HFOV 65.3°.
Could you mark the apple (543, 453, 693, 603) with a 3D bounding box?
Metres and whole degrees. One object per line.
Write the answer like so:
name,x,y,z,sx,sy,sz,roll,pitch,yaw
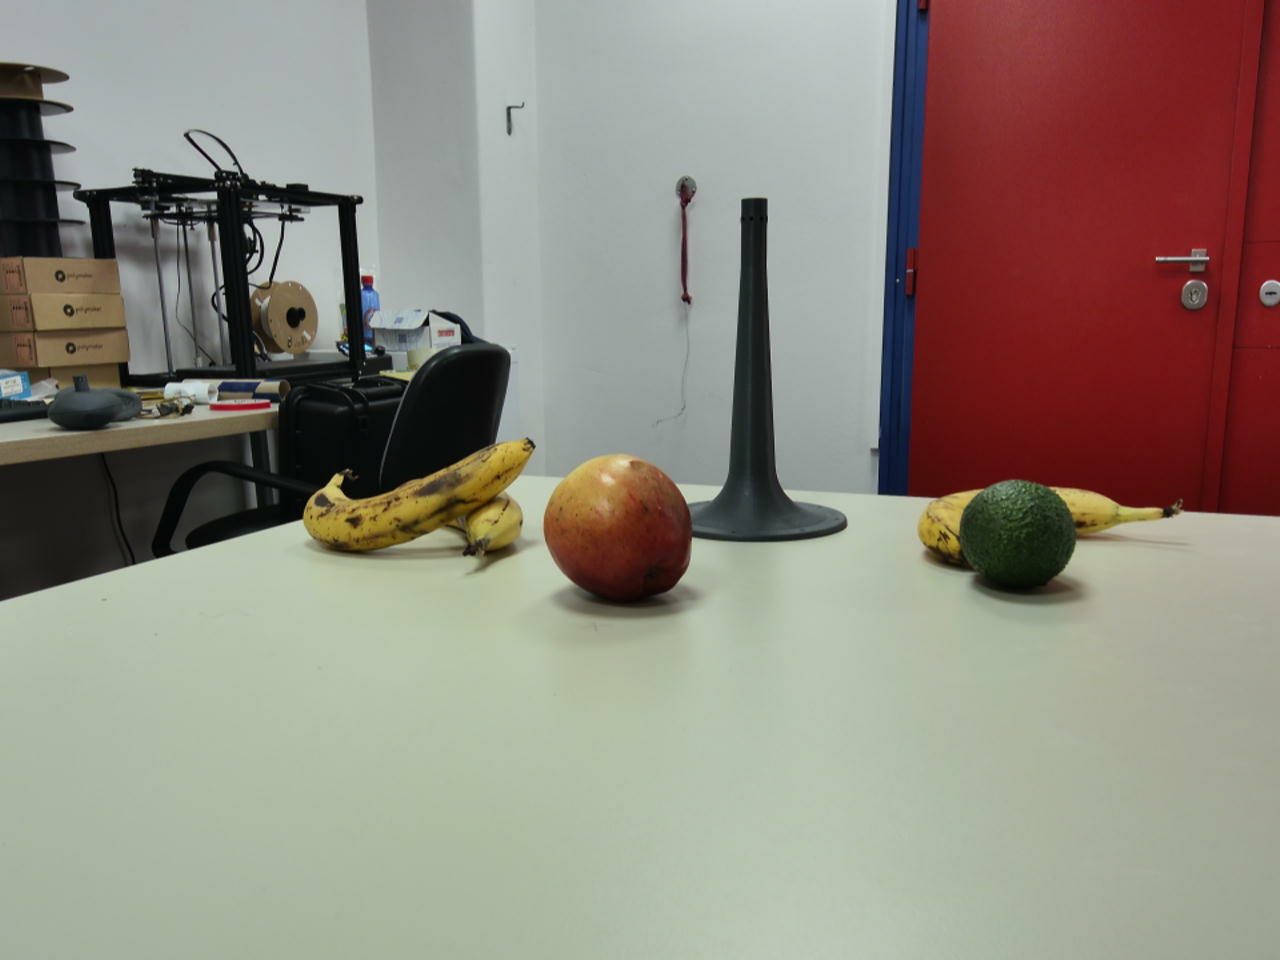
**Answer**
apple,-0.014,0.027,0.598,0.086,0.084,0.093,-1,7,-13
